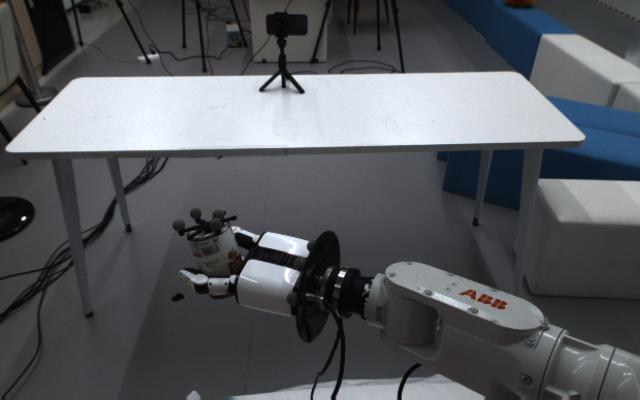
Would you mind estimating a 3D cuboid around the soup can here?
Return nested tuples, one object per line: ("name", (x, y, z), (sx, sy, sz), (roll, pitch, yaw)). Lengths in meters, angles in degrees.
("soup can", (-0.151, 0.088, 0.723), (0.067, 0.101, 0.067), (-13, 20, 5))
